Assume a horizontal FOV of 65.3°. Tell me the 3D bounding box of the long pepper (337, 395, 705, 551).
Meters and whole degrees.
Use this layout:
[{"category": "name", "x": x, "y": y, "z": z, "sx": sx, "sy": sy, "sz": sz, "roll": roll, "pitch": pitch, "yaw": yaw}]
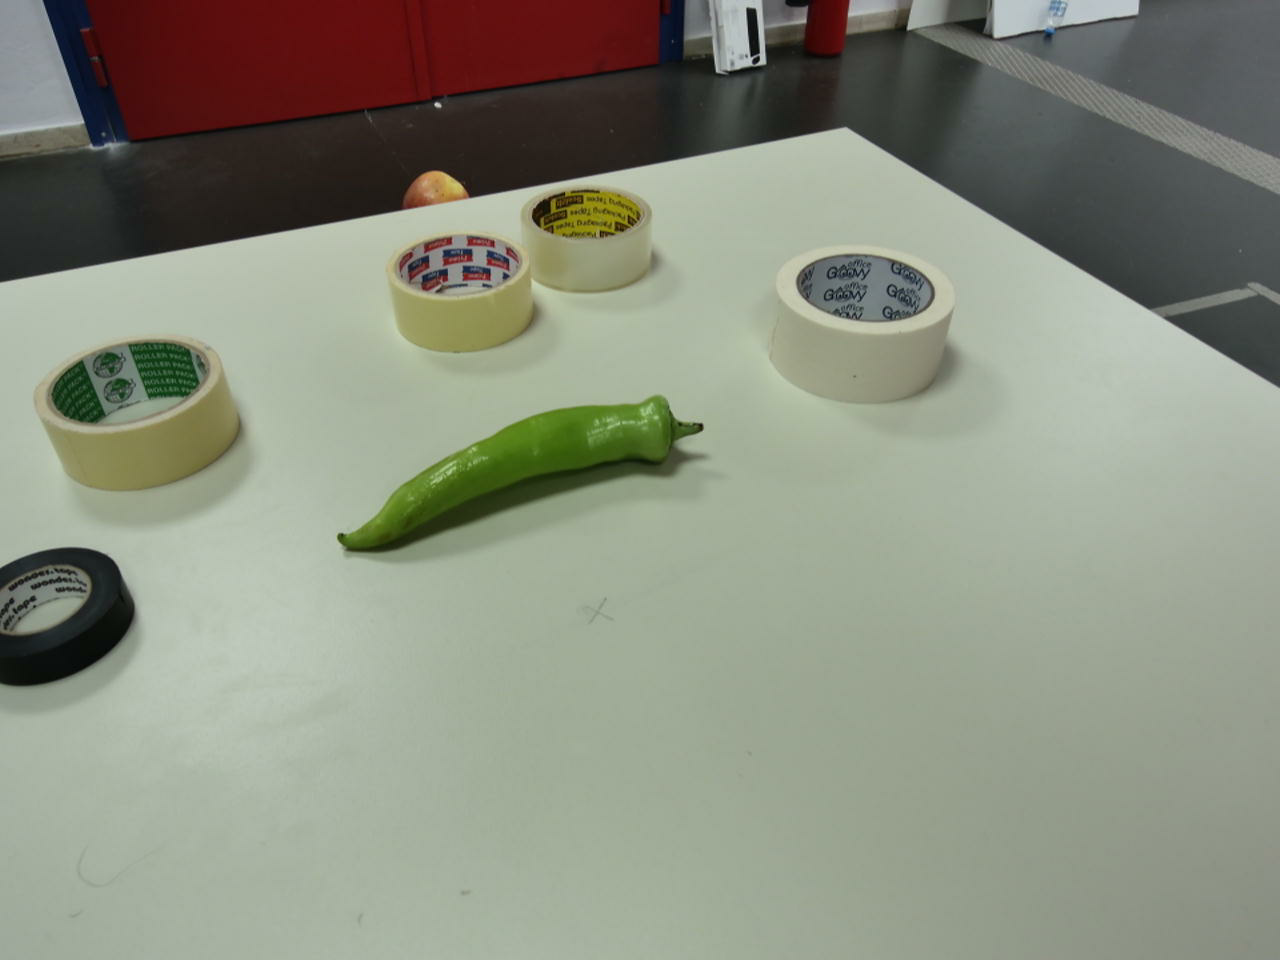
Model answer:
[{"category": "long pepper", "x": -0.061, "y": -0.011, "z": 0.518, "sx": 0.197, "sy": 0.038, "sz": 0.047, "roll": -15, "pitch": 41, "yaw": -18}]
